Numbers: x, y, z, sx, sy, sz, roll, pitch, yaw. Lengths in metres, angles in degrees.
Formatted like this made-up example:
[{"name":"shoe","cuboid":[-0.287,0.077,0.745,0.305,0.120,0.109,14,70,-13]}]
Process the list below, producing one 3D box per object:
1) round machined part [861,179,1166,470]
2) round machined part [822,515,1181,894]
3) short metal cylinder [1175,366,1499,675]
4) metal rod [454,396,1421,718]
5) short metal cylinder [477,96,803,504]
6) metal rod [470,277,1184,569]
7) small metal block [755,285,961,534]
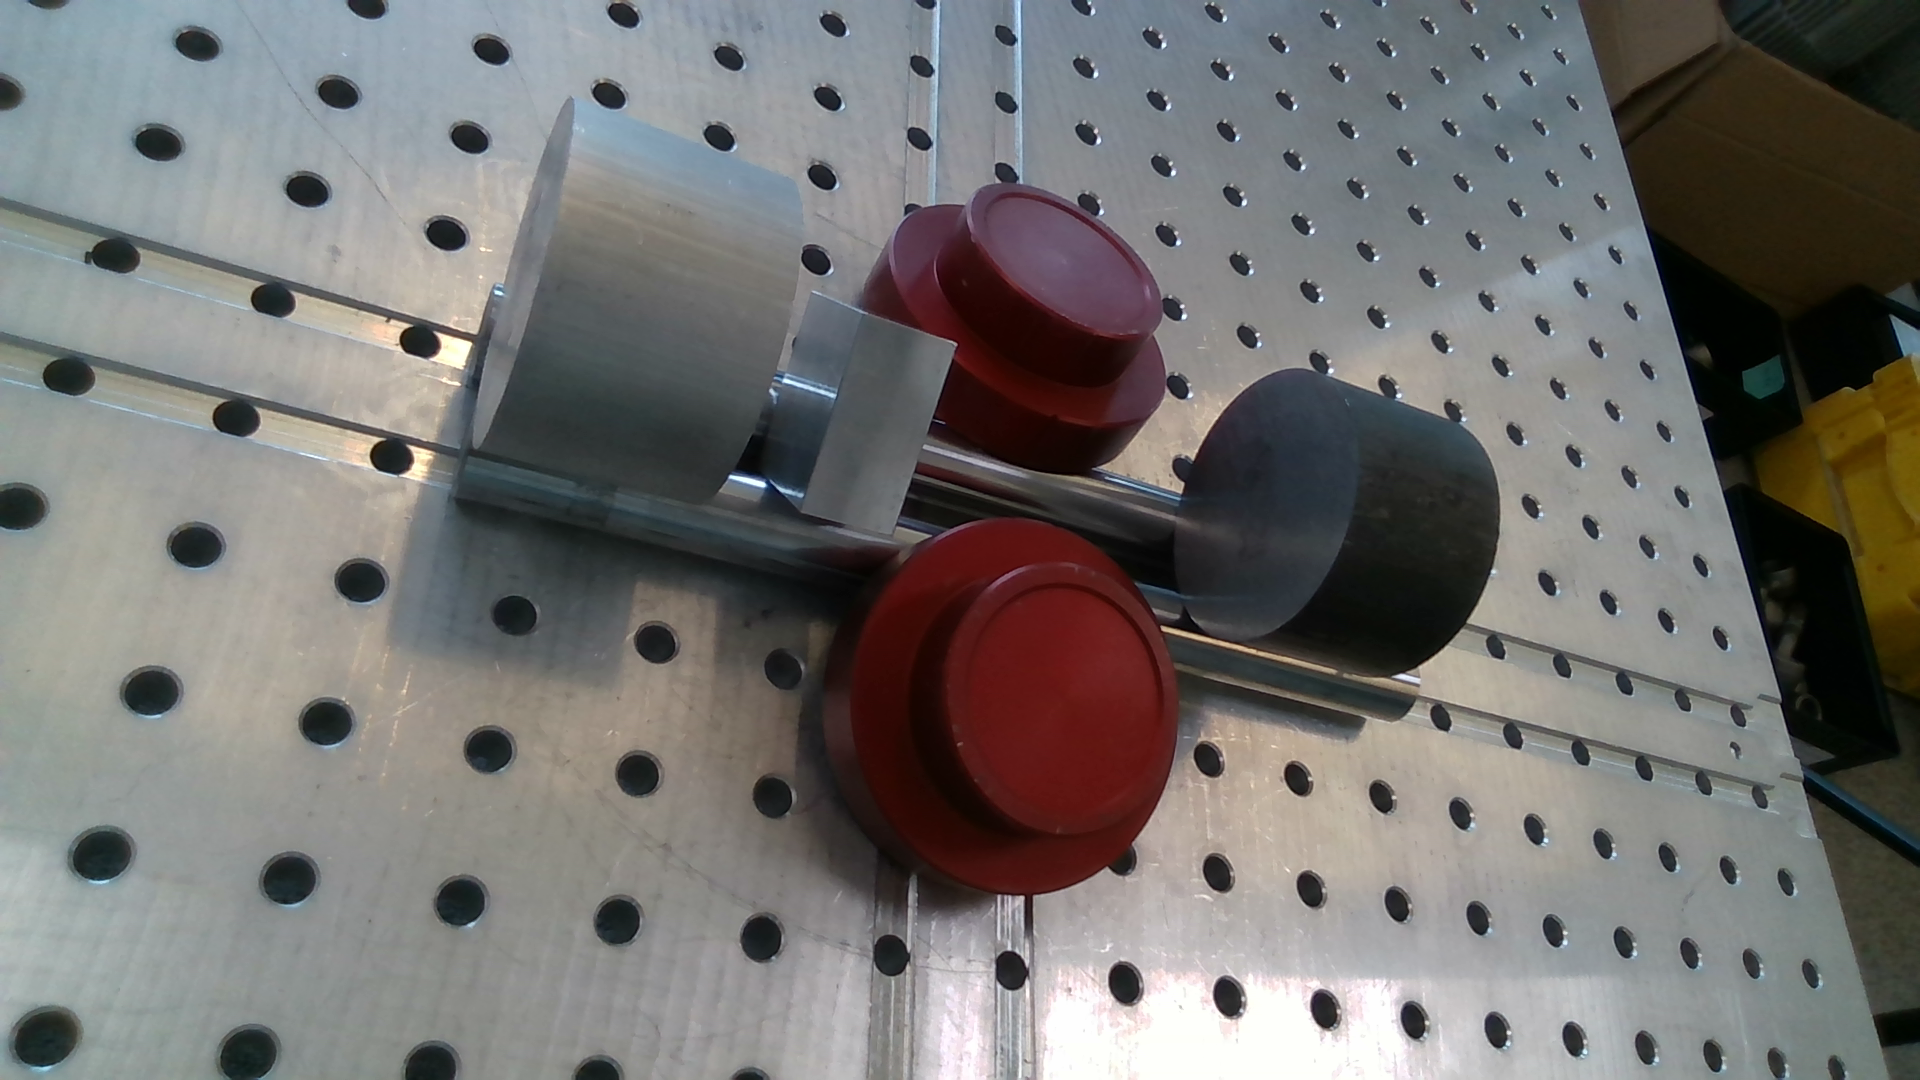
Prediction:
[{"name":"round machined part","cuboid":[0.023,-0.072,0.422,0.098,0.042,0.098,20,42,-19]},{"name":"round machined part","cuboid":[0.017,0.041,0.357,0.098,0.042,0.098,6,77,-27]},{"name":"short metal cylinder","cuboid":[0.107,-0.005,0.401,0.050,0.080,0.080,15,58,-24]},{"name":"metal rod","cuboid":[0.012,0.012,0.396,0.300,0.025,0.025,15,58,-25]},{"name":"short metal cylinder","cuboid":[-0.075,-0.053,0.315,0.050,0.080,0.080,15,58,-24]},{"name":"metal rod","cuboid":[0.011,-0.019,0.412,0.300,0.025,0.025,15,58,-25]},{"name":"small metal block","cuboid":[-0.028,-0.034,0.351,0.025,0.050,0.050,16,100,-25]}]
